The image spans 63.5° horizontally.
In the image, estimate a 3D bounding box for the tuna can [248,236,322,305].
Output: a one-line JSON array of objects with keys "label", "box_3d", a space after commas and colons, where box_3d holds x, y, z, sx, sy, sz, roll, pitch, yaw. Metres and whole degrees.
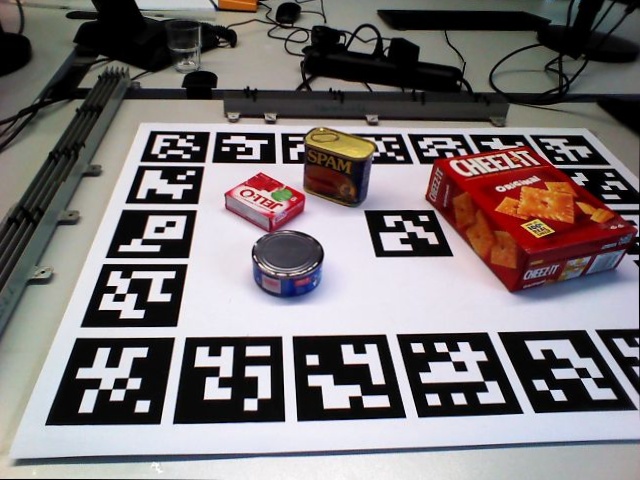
[{"label": "tuna can", "box_3d": [-0.041, 0.036, 0.615, 0.086, 0.034, 0.085, 1, 41, -1]}]

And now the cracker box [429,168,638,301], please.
[{"label": "cracker box", "box_3d": [0.275, -0.023, 0.696, 0.164, 0.072, 0.213, -9, 38, -18]}]

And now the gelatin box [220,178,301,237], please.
[{"label": "gelatin box", "box_3d": [-0.083, -0.048, 0.728, 0.089, 0.030, 0.073, 30, 42, 26]}]

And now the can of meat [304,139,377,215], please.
[{"label": "can of meat", "box_3d": [0.027, -0.092, 0.759, 0.102, 0.084, 0.057, 19, 40, 20]}]
